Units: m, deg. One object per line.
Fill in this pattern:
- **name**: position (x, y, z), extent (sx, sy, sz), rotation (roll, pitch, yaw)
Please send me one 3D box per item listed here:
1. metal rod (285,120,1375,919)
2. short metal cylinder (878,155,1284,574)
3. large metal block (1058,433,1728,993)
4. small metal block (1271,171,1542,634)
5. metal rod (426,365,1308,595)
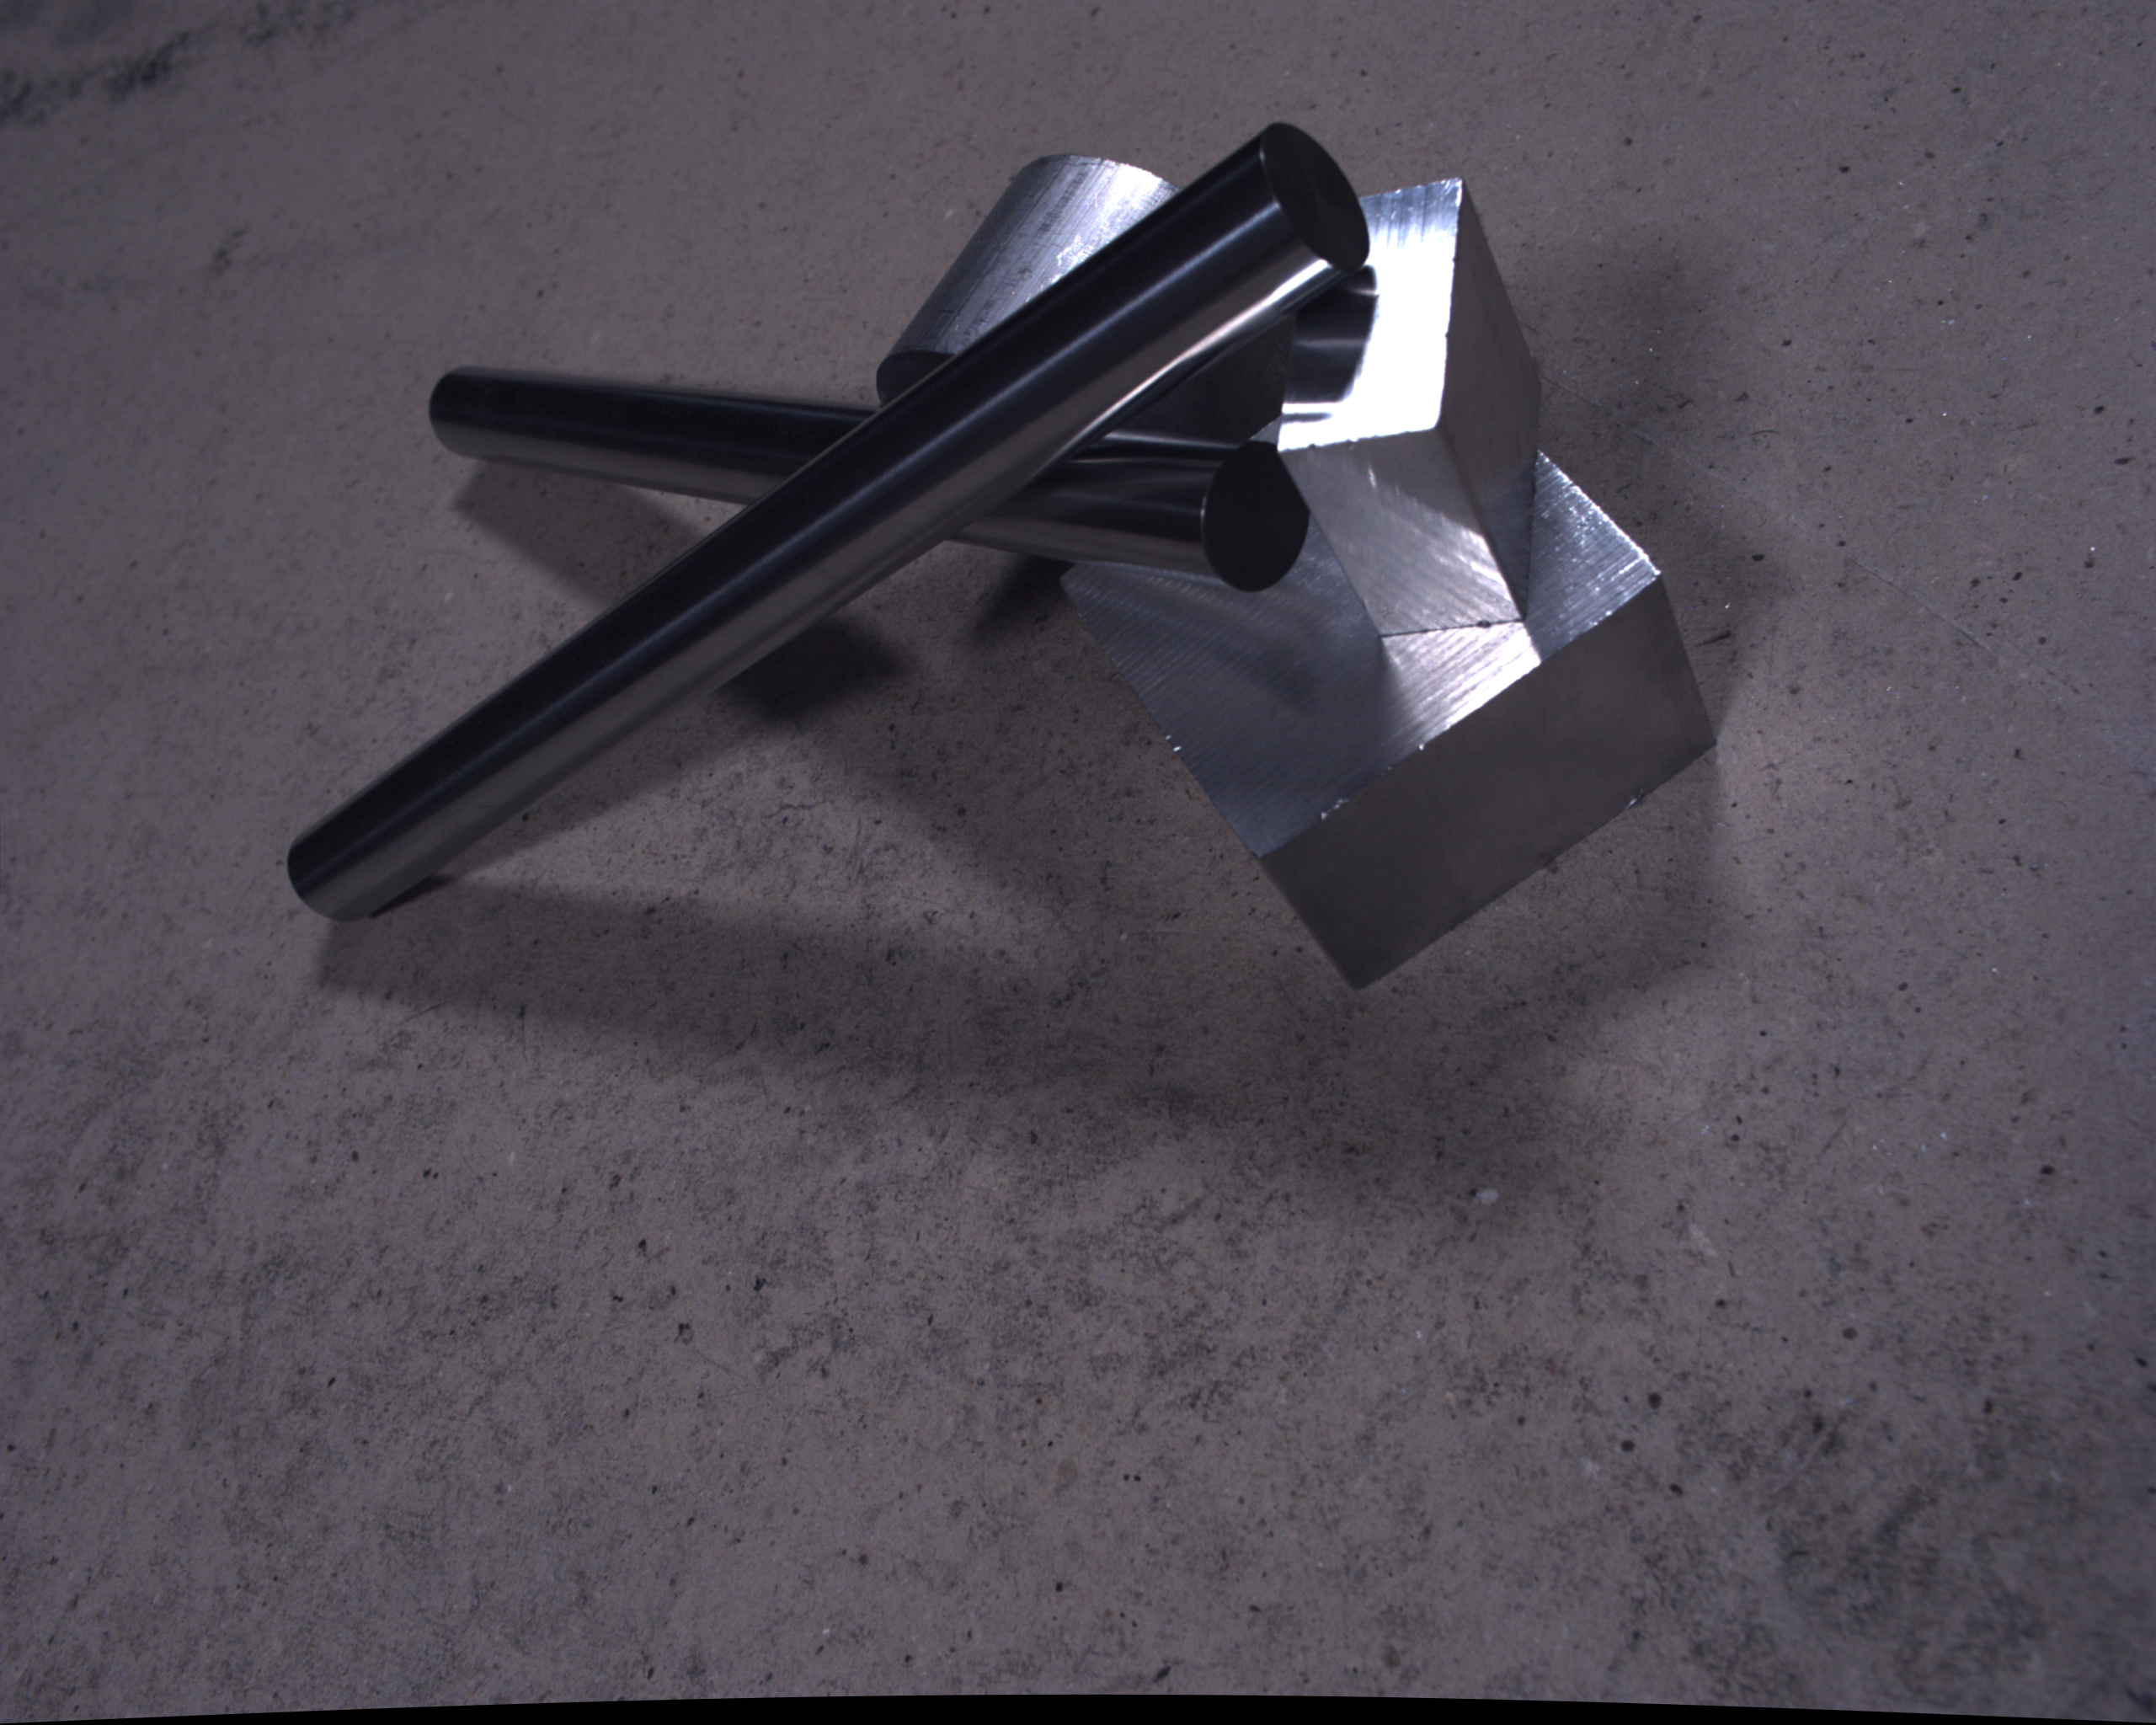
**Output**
- **metal rod**: position (-0.070, -0.049, 0.402), extent (0.299, 0.025, 0.025), rotation (-25, 50, 38)
- **short metal cylinder**: position (0.007, -0.096, 0.426), extent (0.080, 0.080, 0.050), rotation (23, 74, 36)
- **large metal block**: position (0.056, -0.038, 0.380), extent (0.080, 0.050, 0.080), rotation (-36, 51, 5)
- **small metal block**: position (0.055, -0.073, 0.336), extent (0.025, 0.050, 0.050), rotation (-4, 60, 26)
- **metal rod**: position (-0.068, -0.090, 0.458), extent (0.300, 0.025, 0.025), rotation (19, 71, 47)
